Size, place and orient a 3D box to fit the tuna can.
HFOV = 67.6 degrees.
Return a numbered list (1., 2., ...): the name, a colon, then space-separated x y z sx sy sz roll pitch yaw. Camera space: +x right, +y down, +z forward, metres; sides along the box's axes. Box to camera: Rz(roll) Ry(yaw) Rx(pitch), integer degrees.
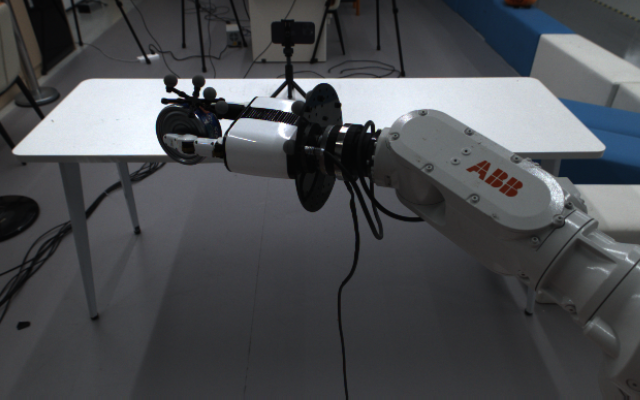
1. tuna can: -0.178 -0.091 0.655 0.085 0.085 0.034 15 30 17
